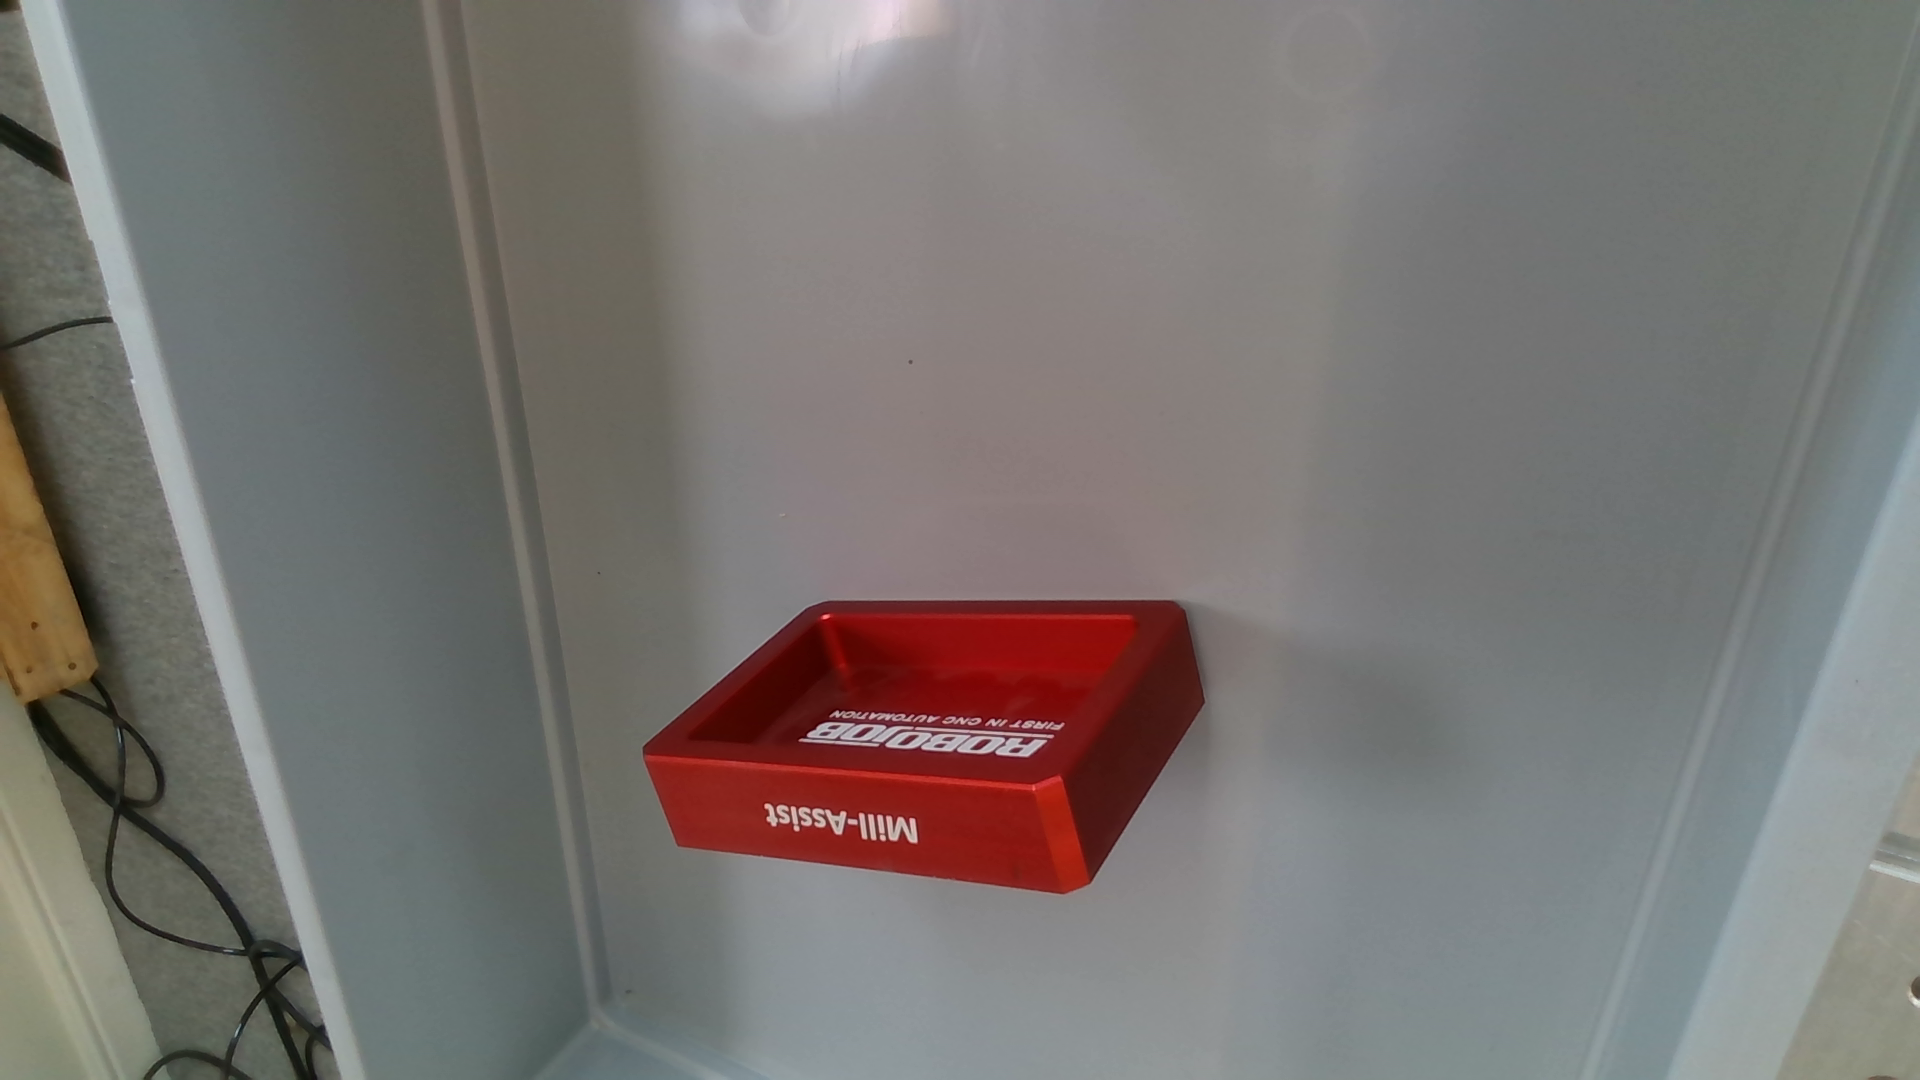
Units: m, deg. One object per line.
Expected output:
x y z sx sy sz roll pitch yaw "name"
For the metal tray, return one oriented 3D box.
-0.010 0.051 0.377 0.130 0.090 0.030 -2 115 33 "metal tray"
